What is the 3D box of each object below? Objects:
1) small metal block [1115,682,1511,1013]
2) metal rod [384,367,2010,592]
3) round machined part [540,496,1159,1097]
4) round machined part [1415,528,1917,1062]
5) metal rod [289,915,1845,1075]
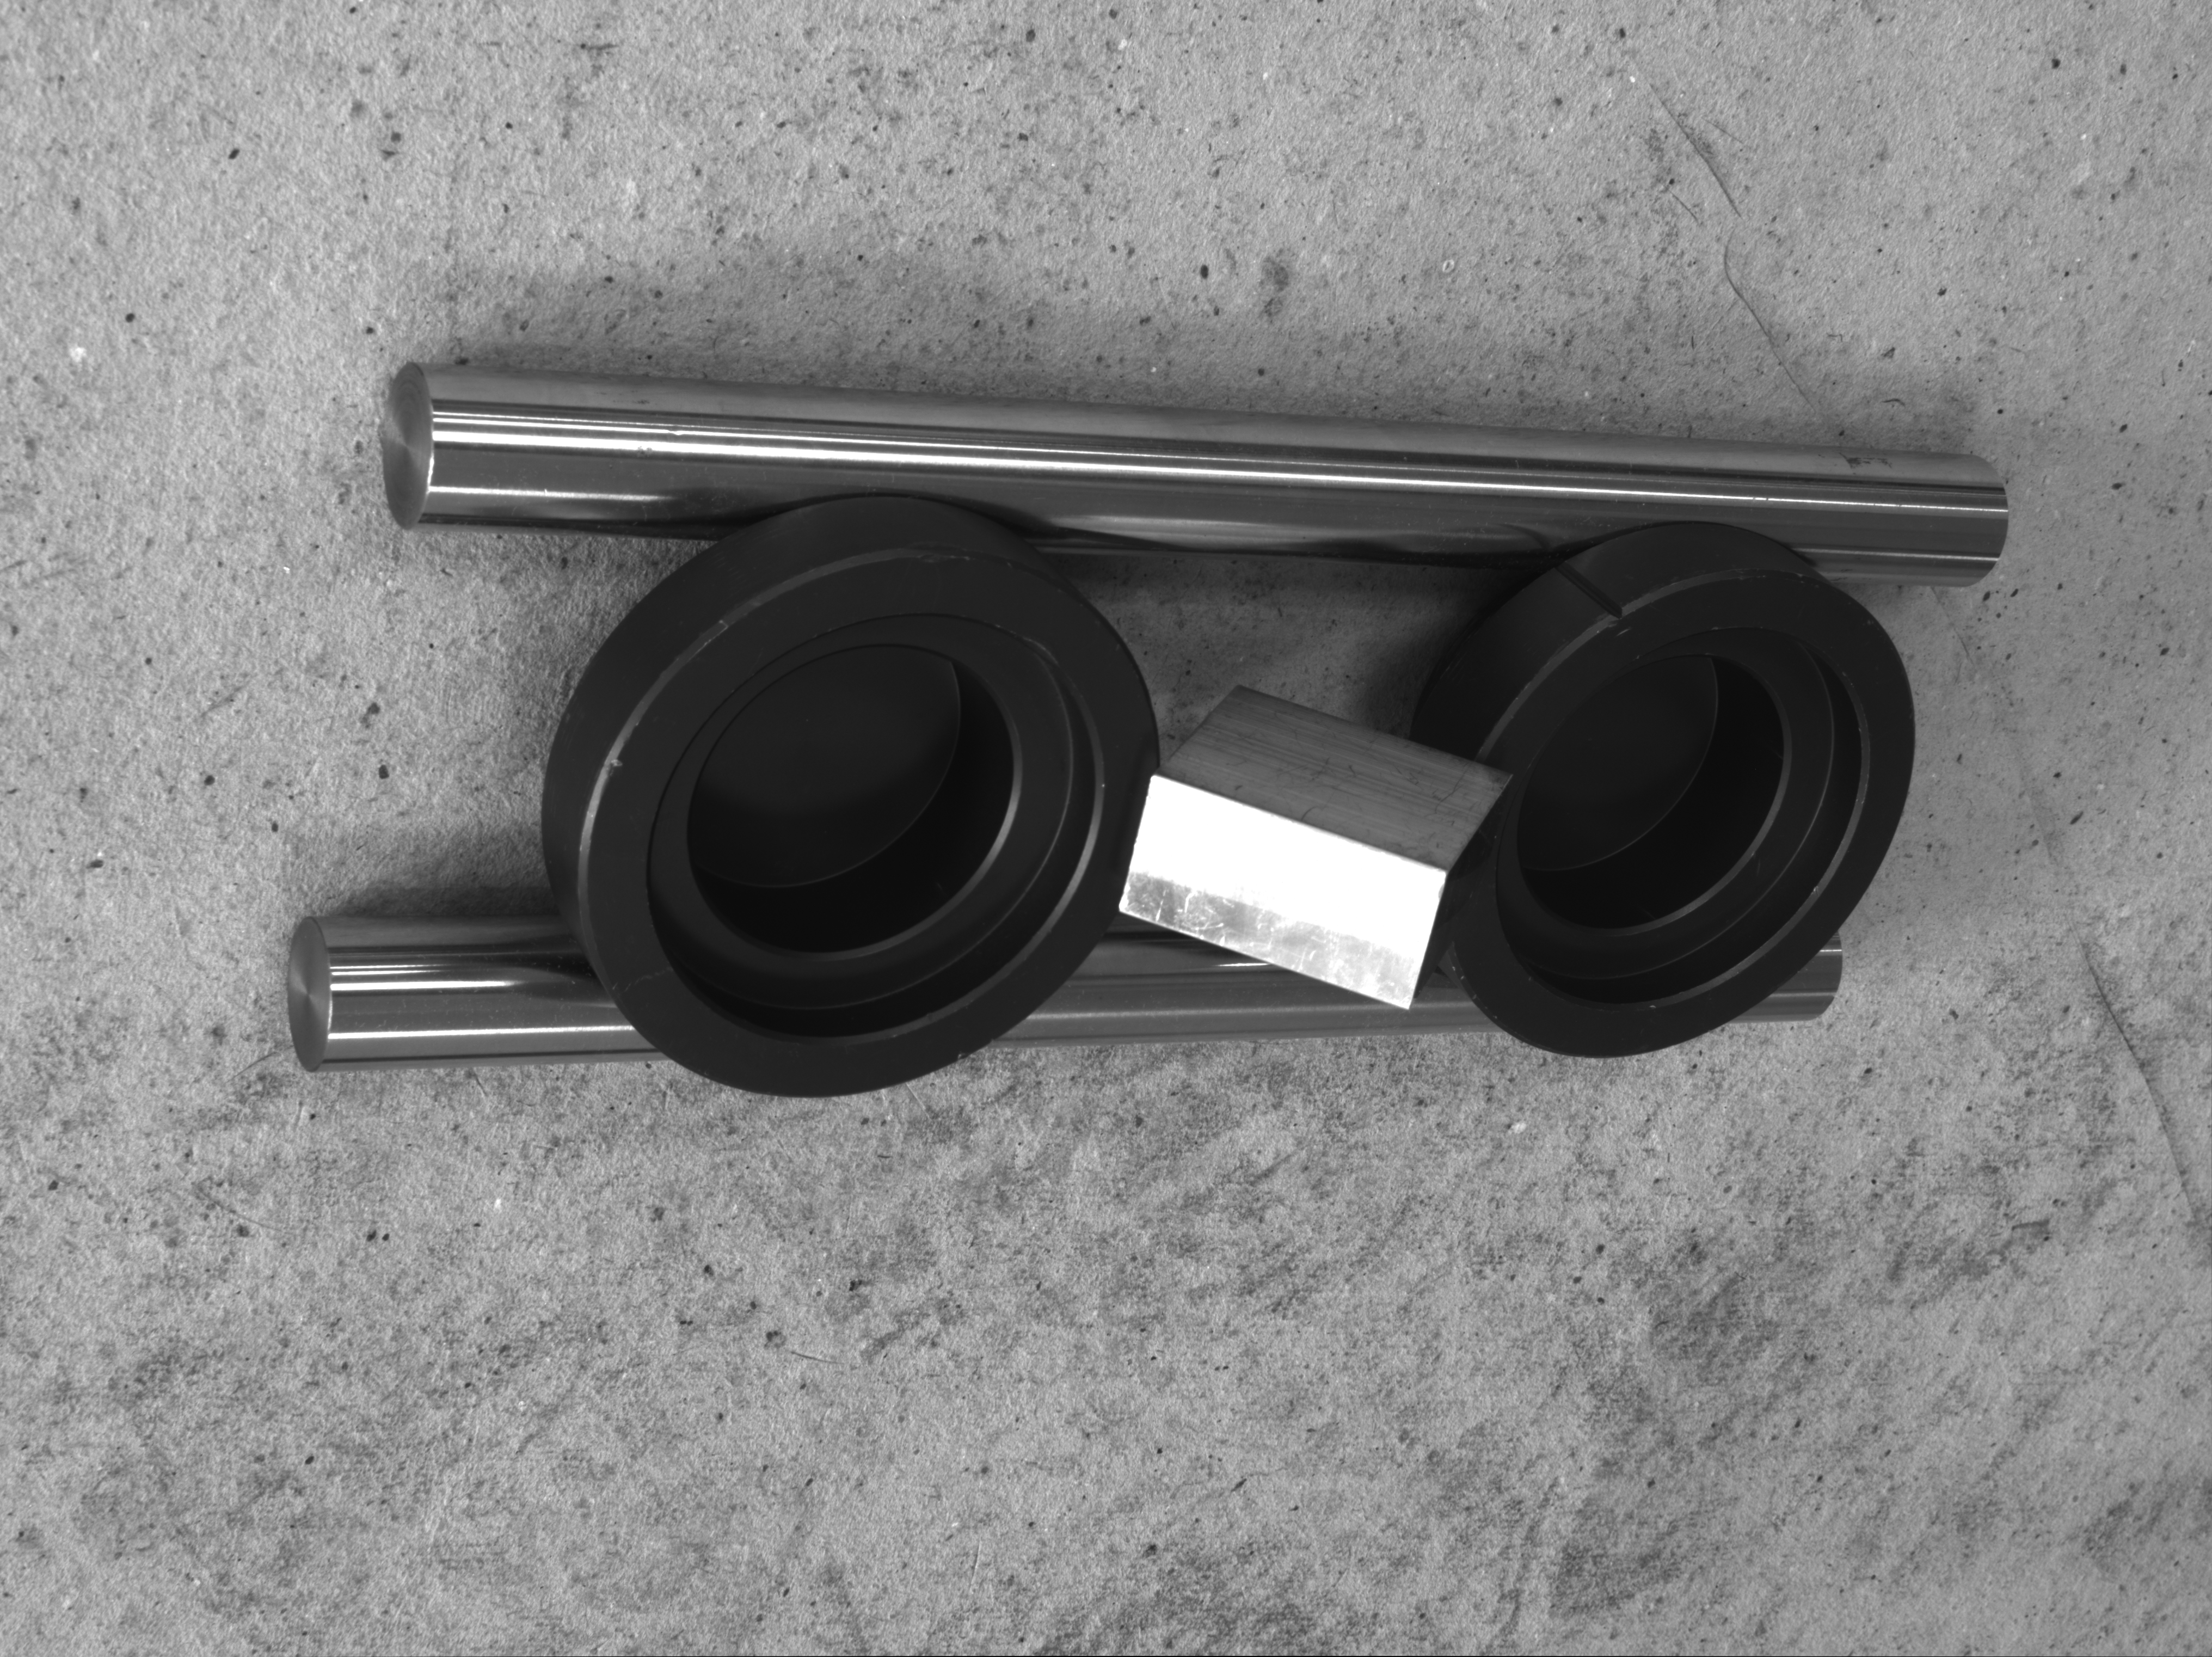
[{"bbox_3d":[0.035,0.002,0.608,0.050,0.050,0.025,19,114,11],"label":"small metal block"},{"bbox_3d":[0.029,-0.057,0.618,0.301,0.025,0.025,0,118,-28],"label":"metal rod"},{"bbox_3d":[-0.044,-0.009,0.592,0.098,0.042,0.098,-13,124,-21],"label":"round machined part"},{"bbox_3d":[0.094,-0.010,0.665,0.098,0.042,0.098,-13,124,-21],"label":"round machined part"},{"bbox_3d":[0.006,0.027,0.657,0.301,0.025,0.025,0,118,-28],"label":"metal rod"}]
